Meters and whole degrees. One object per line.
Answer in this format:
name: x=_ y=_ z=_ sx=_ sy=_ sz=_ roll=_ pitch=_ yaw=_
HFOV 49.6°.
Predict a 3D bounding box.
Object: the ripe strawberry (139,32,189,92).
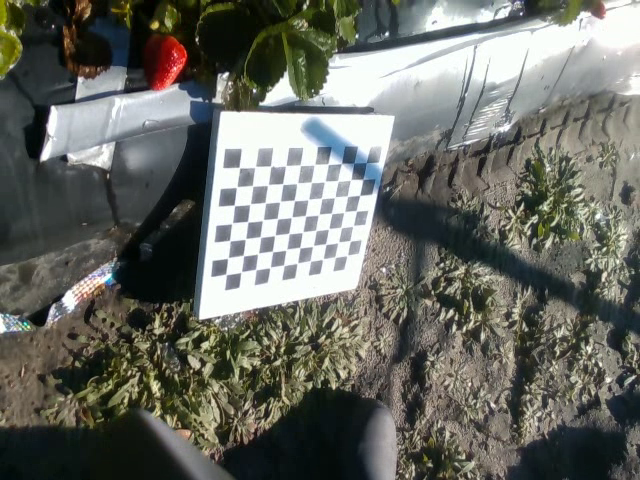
ripe strawberry: x=-0.169 y=-0.180 z=0.794 sx=0.058 sy=0.065 sz=0.062 roll=-17 pitch=-31 yaw=26
